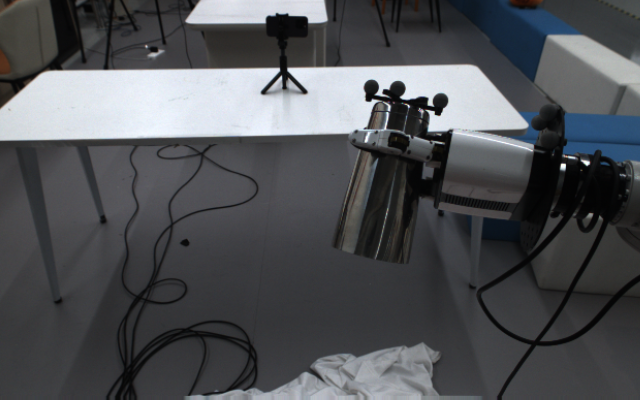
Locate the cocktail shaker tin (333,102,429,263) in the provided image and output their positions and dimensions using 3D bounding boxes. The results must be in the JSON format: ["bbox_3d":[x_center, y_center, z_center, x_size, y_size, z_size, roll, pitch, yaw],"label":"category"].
[{"bbox_3d":[0.079,-0.023,0.558,0.093,0.170,0.093,13,1,0],"label":"cocktail shaker tin"}]
